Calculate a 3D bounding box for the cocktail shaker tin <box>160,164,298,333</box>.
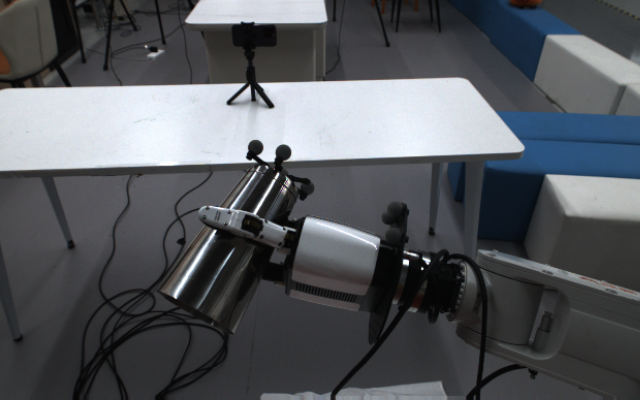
[{"bbox_3d":[-0.089,0.045,0.527,0.093,0.093,0.170,18,66,22],"label":"cocktail shaker tin"}]
